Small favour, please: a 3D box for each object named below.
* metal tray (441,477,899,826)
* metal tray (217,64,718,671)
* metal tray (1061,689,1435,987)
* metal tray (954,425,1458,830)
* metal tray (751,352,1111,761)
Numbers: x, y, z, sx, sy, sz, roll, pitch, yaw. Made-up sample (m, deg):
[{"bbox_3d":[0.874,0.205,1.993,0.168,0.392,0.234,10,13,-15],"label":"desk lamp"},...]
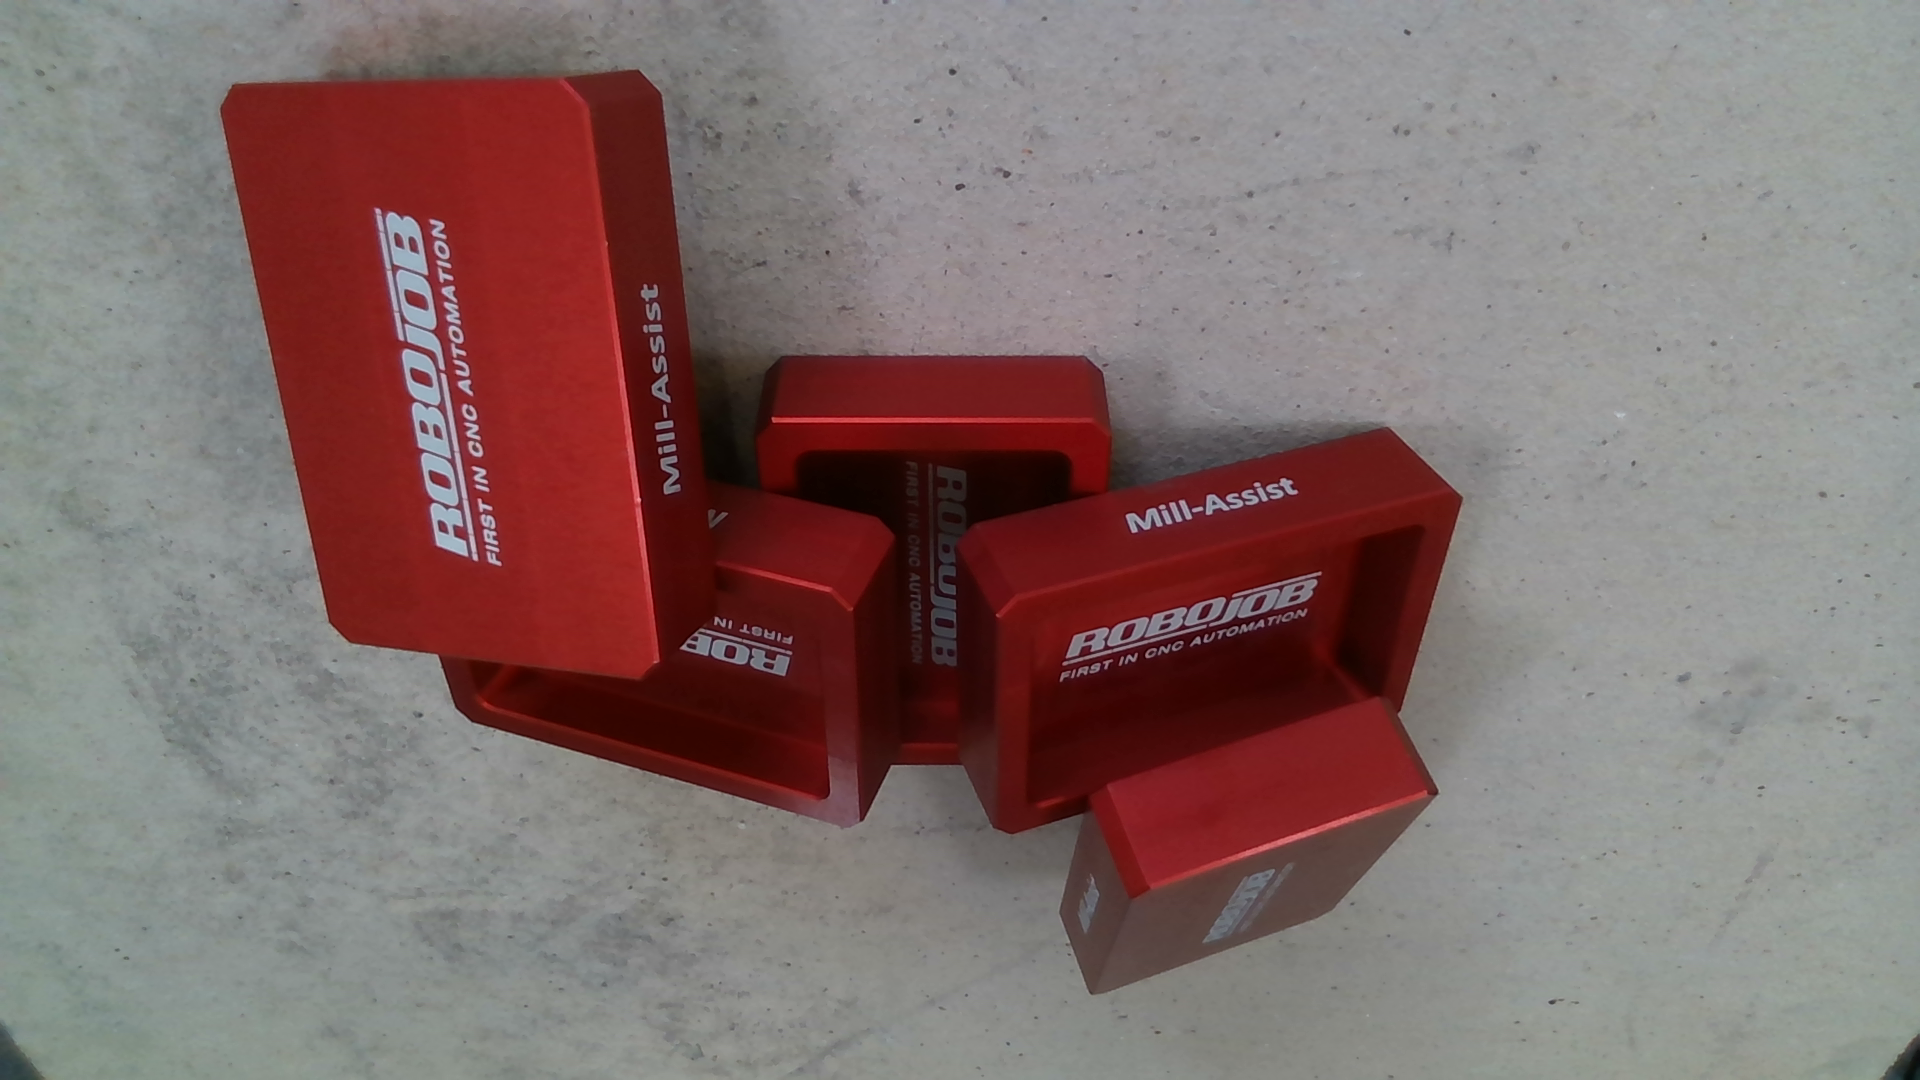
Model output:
[{"bbox_3d":[-0.083,0.024,0.379,0.130,0.030,0.090,13,131,14],"label":"metal tray"},{"bbox_3d":[-0.109,-0.038,0.315,0.090,0.030,0.130,5,114,17],"label":"metal tray"},{"bbox_3d":[0.082,0.096,0.426,0.090,0.030,0.130,-17,152,-10],"label":"metal tray"},{"bbox_3d":[0.065,0.025,0.380,0.130,0.030,0.090,-13,132,-15],"label":"metal tray"},{"bbox_3d":[-0.007,0.009,0.394,0.090,0.030,0.130,0,130,0],"label":"metal tray"}]
